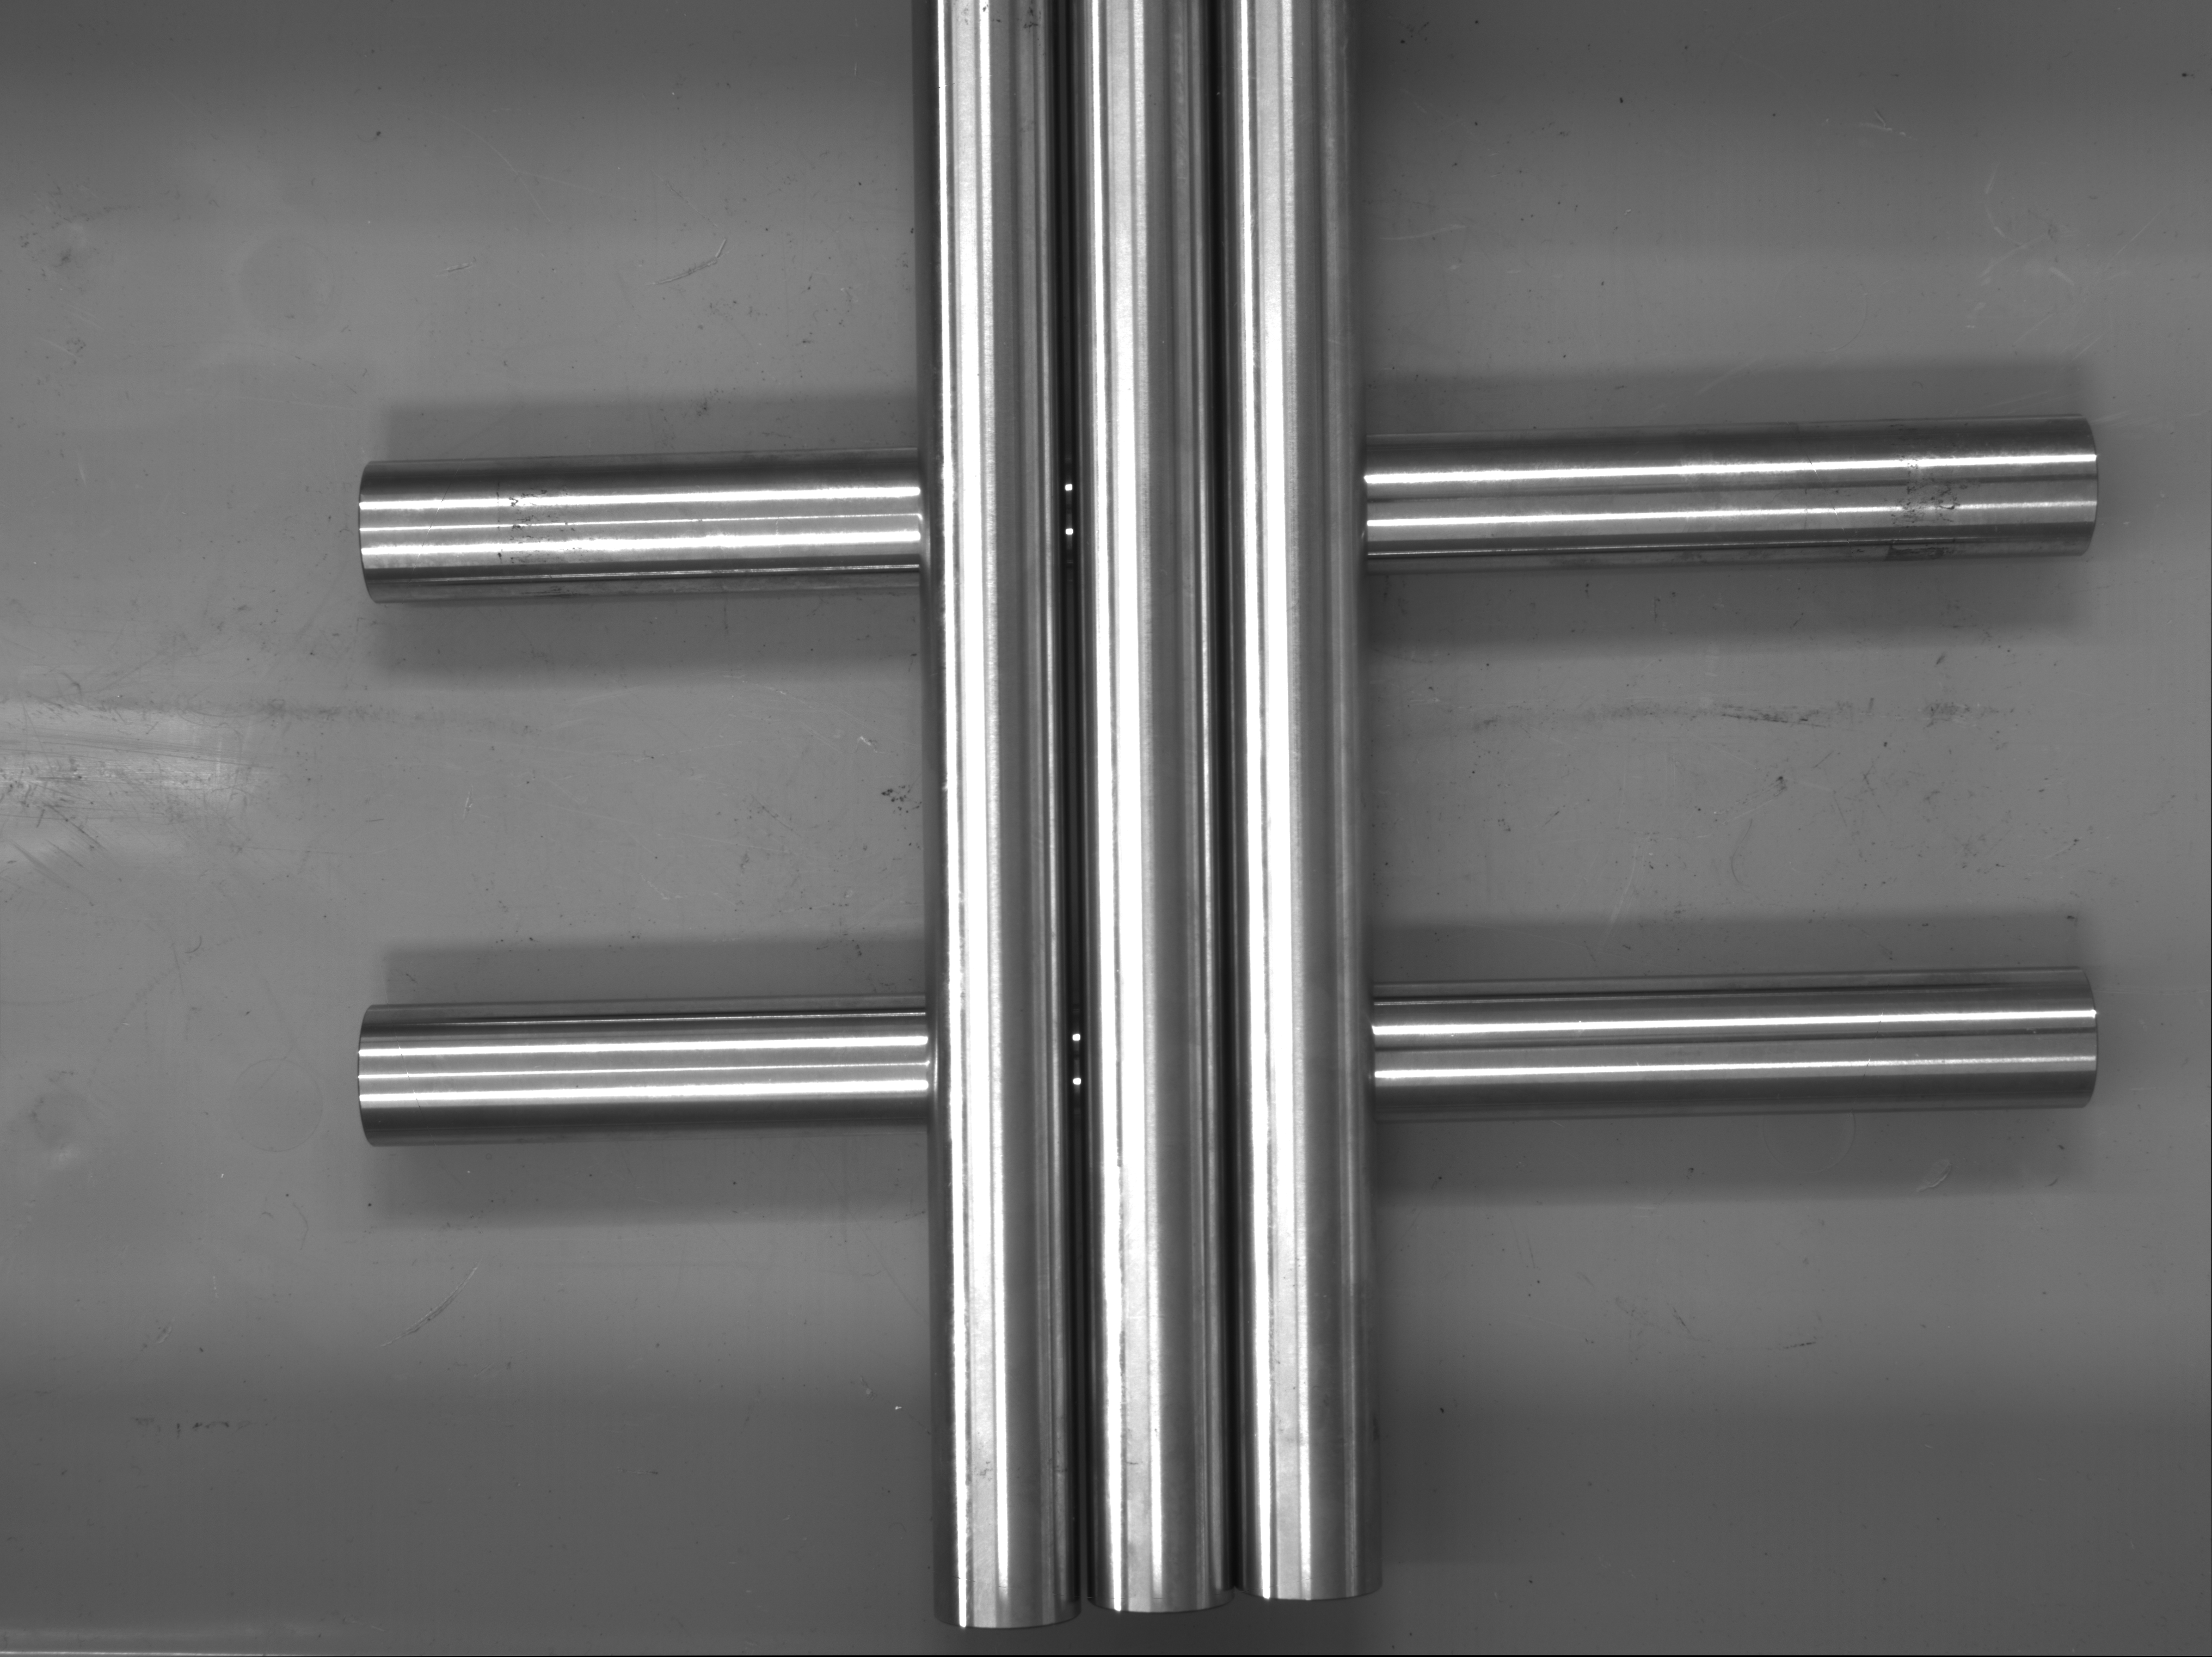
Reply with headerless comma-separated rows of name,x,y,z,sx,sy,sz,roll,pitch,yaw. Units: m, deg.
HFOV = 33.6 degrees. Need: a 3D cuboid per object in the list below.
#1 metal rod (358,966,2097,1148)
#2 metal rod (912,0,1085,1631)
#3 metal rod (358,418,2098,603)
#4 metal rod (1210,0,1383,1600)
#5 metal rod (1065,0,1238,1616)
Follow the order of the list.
metal rod,0.021,0.040,0.645,0.300,0.025,0.025,-1,90,0
metal rod,-0.018,-0.017,0.618,0.025,0.025,0.300,-1,90,0
metal rod,0.021,-0.056,0.645,0.300,0.025,0.025,-1,90,0
metal rod,0.032,-0.023,0.618,0.025,0.025,0.300,-1,90,0
metal rod,0.007,-0.020,0.618,0.025,0.025,0.300,-1,90,0
